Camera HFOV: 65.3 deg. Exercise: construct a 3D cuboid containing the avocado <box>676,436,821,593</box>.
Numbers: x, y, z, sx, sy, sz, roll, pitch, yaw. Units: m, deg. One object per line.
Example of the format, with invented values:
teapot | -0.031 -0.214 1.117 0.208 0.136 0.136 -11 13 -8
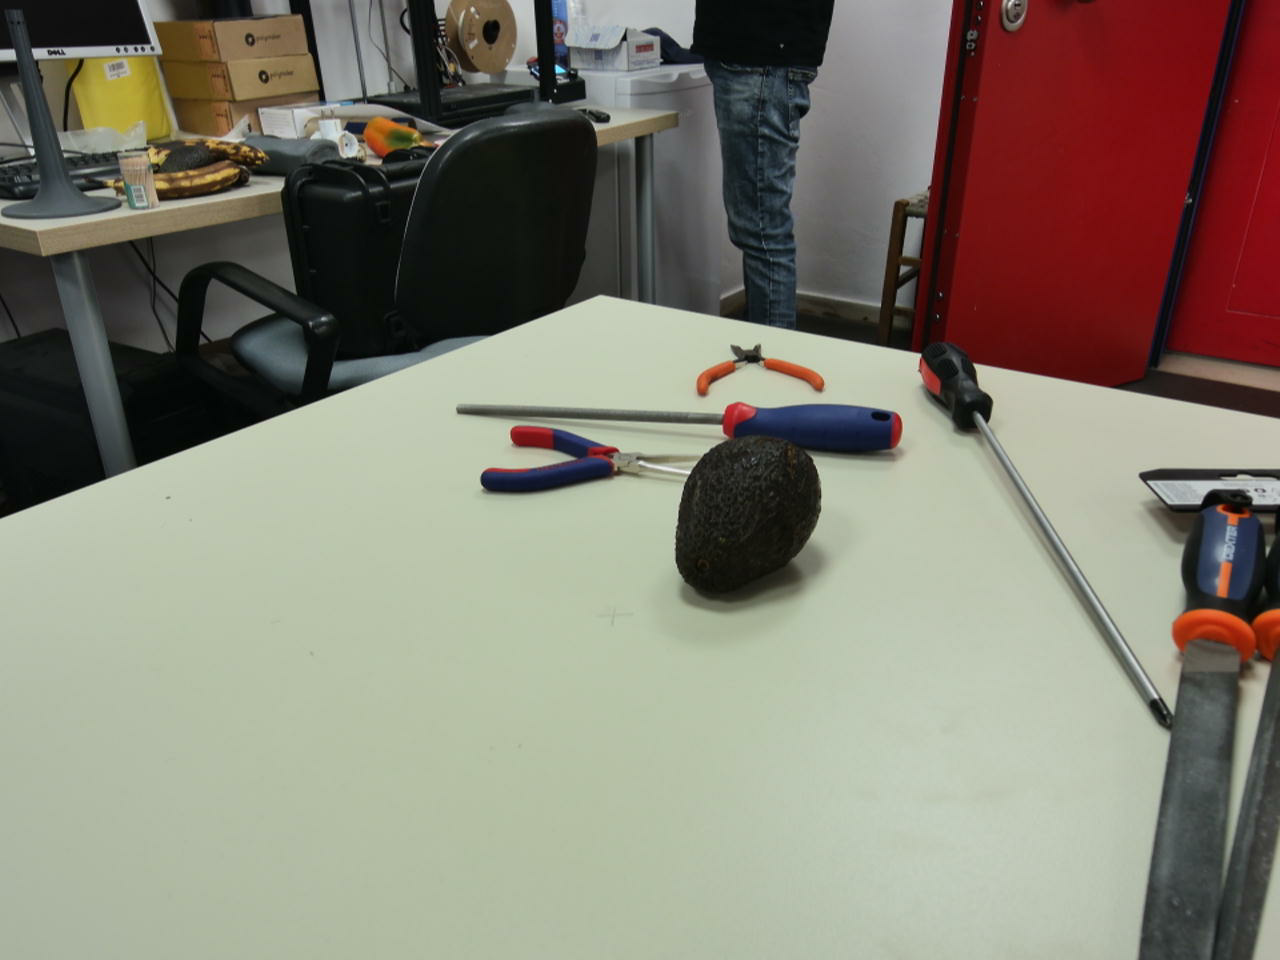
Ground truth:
avocado | 0.053 0.013 0.517 0.090 0.069 0.070 -11 27 -25
